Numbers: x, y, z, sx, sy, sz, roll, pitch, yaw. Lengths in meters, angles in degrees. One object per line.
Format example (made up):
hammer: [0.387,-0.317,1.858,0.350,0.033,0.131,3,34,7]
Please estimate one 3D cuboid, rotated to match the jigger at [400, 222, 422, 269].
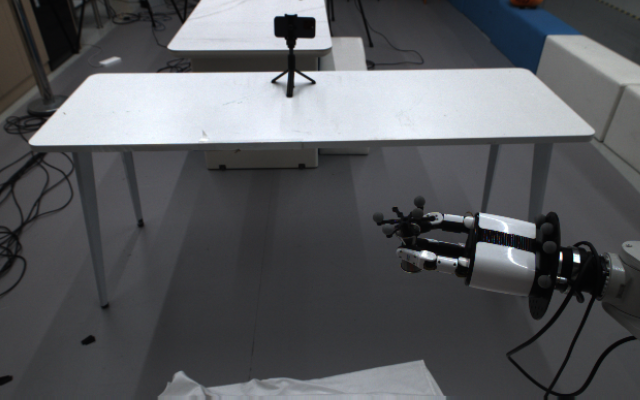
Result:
jigger: [0.142,0.073,0.754,0.043,0.071,0.043,-12,29,7]
